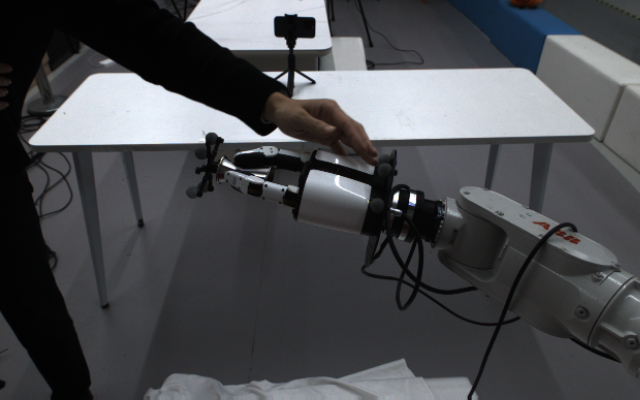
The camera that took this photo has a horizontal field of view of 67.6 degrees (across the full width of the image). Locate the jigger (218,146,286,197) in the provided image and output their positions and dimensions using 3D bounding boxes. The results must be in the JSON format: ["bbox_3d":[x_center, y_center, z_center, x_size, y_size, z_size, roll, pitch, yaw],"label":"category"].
[{"bbox_3d":[-0.095,-0.035,0.650,0.071,0.043,0.043,14,36,4],"label":"jigger"}]
